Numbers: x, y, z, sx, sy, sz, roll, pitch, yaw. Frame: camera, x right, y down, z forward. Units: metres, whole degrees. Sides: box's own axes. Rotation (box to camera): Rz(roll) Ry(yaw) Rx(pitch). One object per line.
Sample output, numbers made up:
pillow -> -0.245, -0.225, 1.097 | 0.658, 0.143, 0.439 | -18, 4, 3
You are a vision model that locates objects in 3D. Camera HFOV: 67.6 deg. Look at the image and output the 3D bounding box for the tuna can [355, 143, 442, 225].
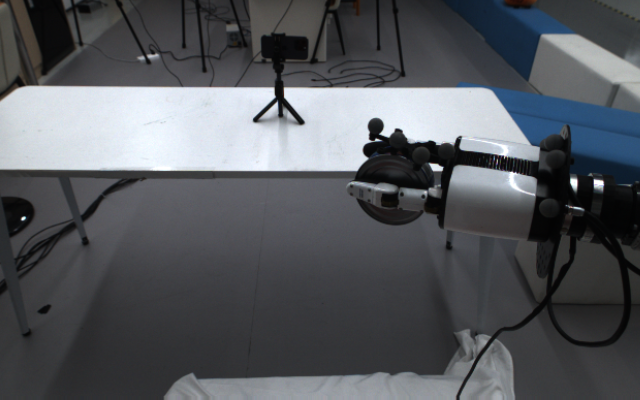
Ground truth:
tuna can -> 0.086, -0.019, 0.546 | 0.085, 0.085, 0.034 | 15, 28, 18
